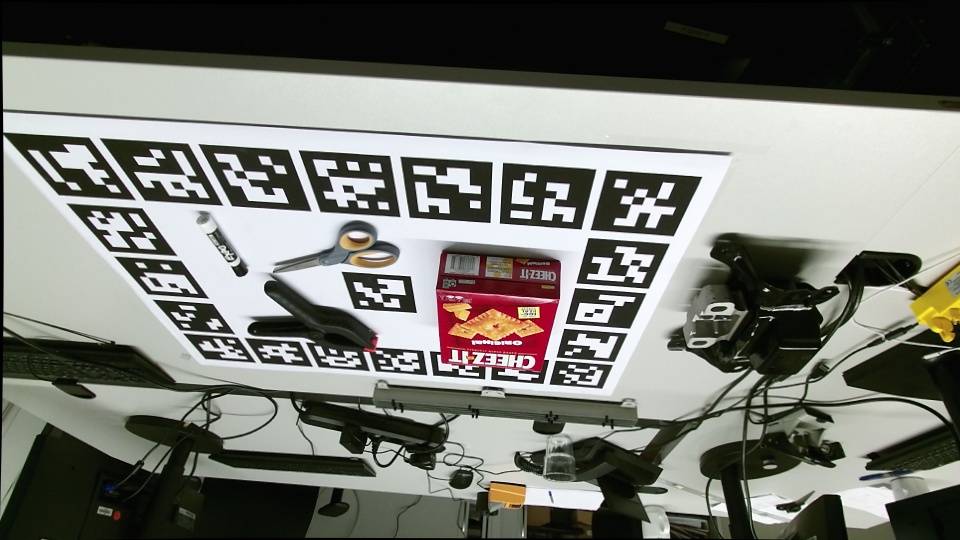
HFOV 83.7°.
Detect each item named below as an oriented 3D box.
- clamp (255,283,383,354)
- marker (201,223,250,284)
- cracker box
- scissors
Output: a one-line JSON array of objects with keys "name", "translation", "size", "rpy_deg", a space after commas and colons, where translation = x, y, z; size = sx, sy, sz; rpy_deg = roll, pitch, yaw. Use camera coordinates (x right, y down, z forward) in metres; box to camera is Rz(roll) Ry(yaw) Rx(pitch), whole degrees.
[{"name": "clamp", "translation": [-0.260, 0.099, 0.901], "size": [0.203, 0.036, 0.165], "rpy_deg": [23, 141, -21]}, {"name": "marker", "translation": [-0.352, -0.019, 0.748], "size": [0.020, 0.019, 0.121], "rpy_deg": [1, 143, 5]}, {"name": "cracker box", "translation": [0.021, 0.073, 0.786], "size": [0.165, 0.071, 0.214], "rpy_deg": [4, 143, 1]}, {"name": "scissors", "translation": [-0.209, -0.009, 0.746], "size": [0.203, 0.016, 0.088], "rpy_deg": [-14, 140, 27]}]
